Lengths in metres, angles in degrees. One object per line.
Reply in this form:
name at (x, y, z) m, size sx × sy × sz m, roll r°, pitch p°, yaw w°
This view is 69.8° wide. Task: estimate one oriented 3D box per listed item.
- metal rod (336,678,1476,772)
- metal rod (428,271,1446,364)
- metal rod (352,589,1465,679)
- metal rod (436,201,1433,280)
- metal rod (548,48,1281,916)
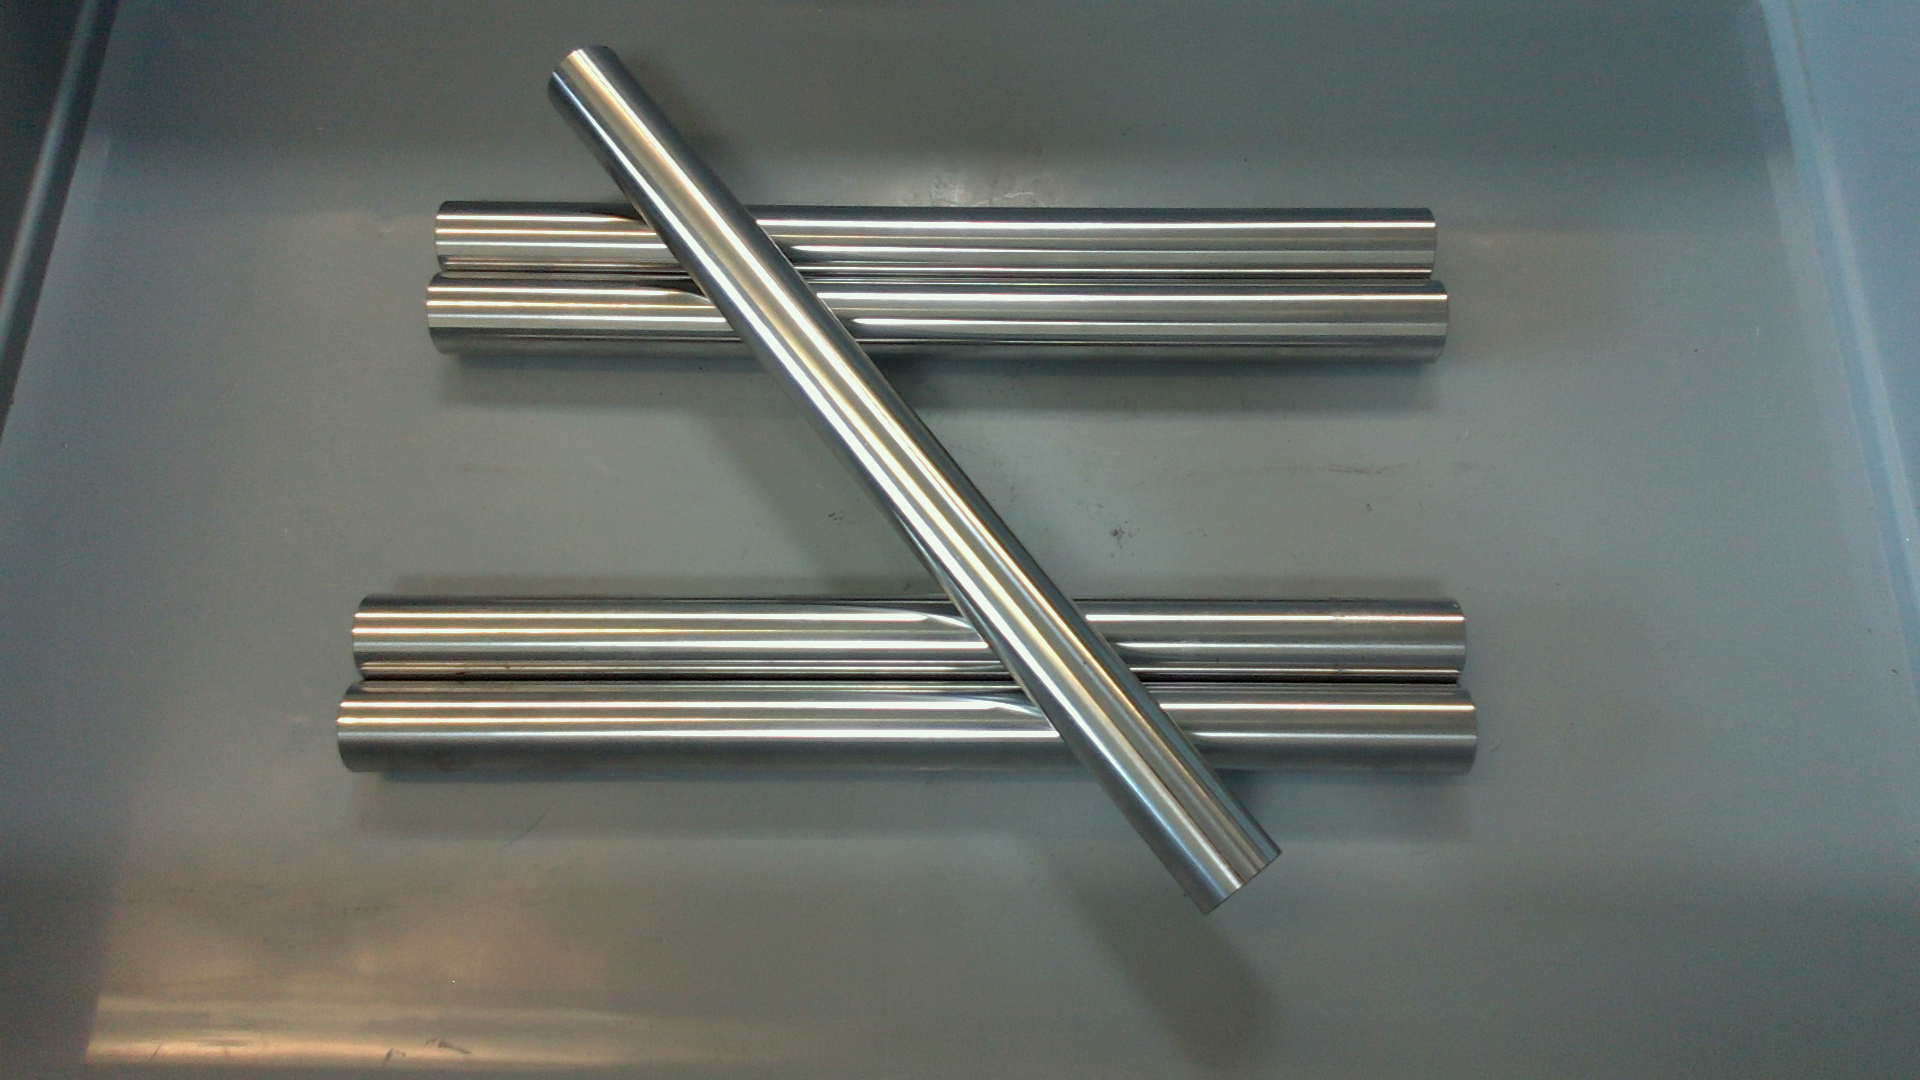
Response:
metal rod at (-0.014, 0.050, 0.374) m, size 0.300 × 0.025 × 0.025 m, roll 0°, pitch 70°, yaw 0°
metal rod at (-0.007, -0.067, 0.418) m, size 0.300 × 0.025 × 0.025 m, roll 1°, pitch 70°, yaw 0°
metal rod at (-0.014, 0.026, 0.383) m, size 0.300 × 0.025 × 0.025 m, roll 0°, pitch 70°, yaw 0°
metal rod at (-0.008, -0.091, 0.426) m, size 0.300 × 0.025 × 0.025 m, roll 1°, pitch 70°, yaw 0°
metal rod at (-0.022, -0.027, 0.377) m, size 0.025 × 0.025 × 0.300 m, roll -36°, pitch 74°, yaw -12°
